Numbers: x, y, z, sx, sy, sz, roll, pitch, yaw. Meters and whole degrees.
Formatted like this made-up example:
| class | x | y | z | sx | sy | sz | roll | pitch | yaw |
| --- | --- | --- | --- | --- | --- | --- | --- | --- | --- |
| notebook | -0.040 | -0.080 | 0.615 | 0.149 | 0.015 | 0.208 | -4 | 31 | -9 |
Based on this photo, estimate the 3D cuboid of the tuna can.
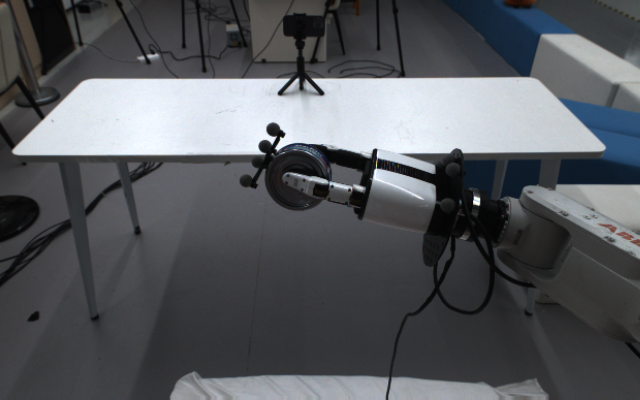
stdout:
| class | x | y | z | sx | sy | sz | roll | pitch | yaw |
| --- | --- | --- | --- | --- | --- | --- | --- | --- | --- |
| tuna can | -0.025 | -0.027 | 0.636 | 0.085 | 0.085 | 0.034 | 3 | 21 | 2 |
